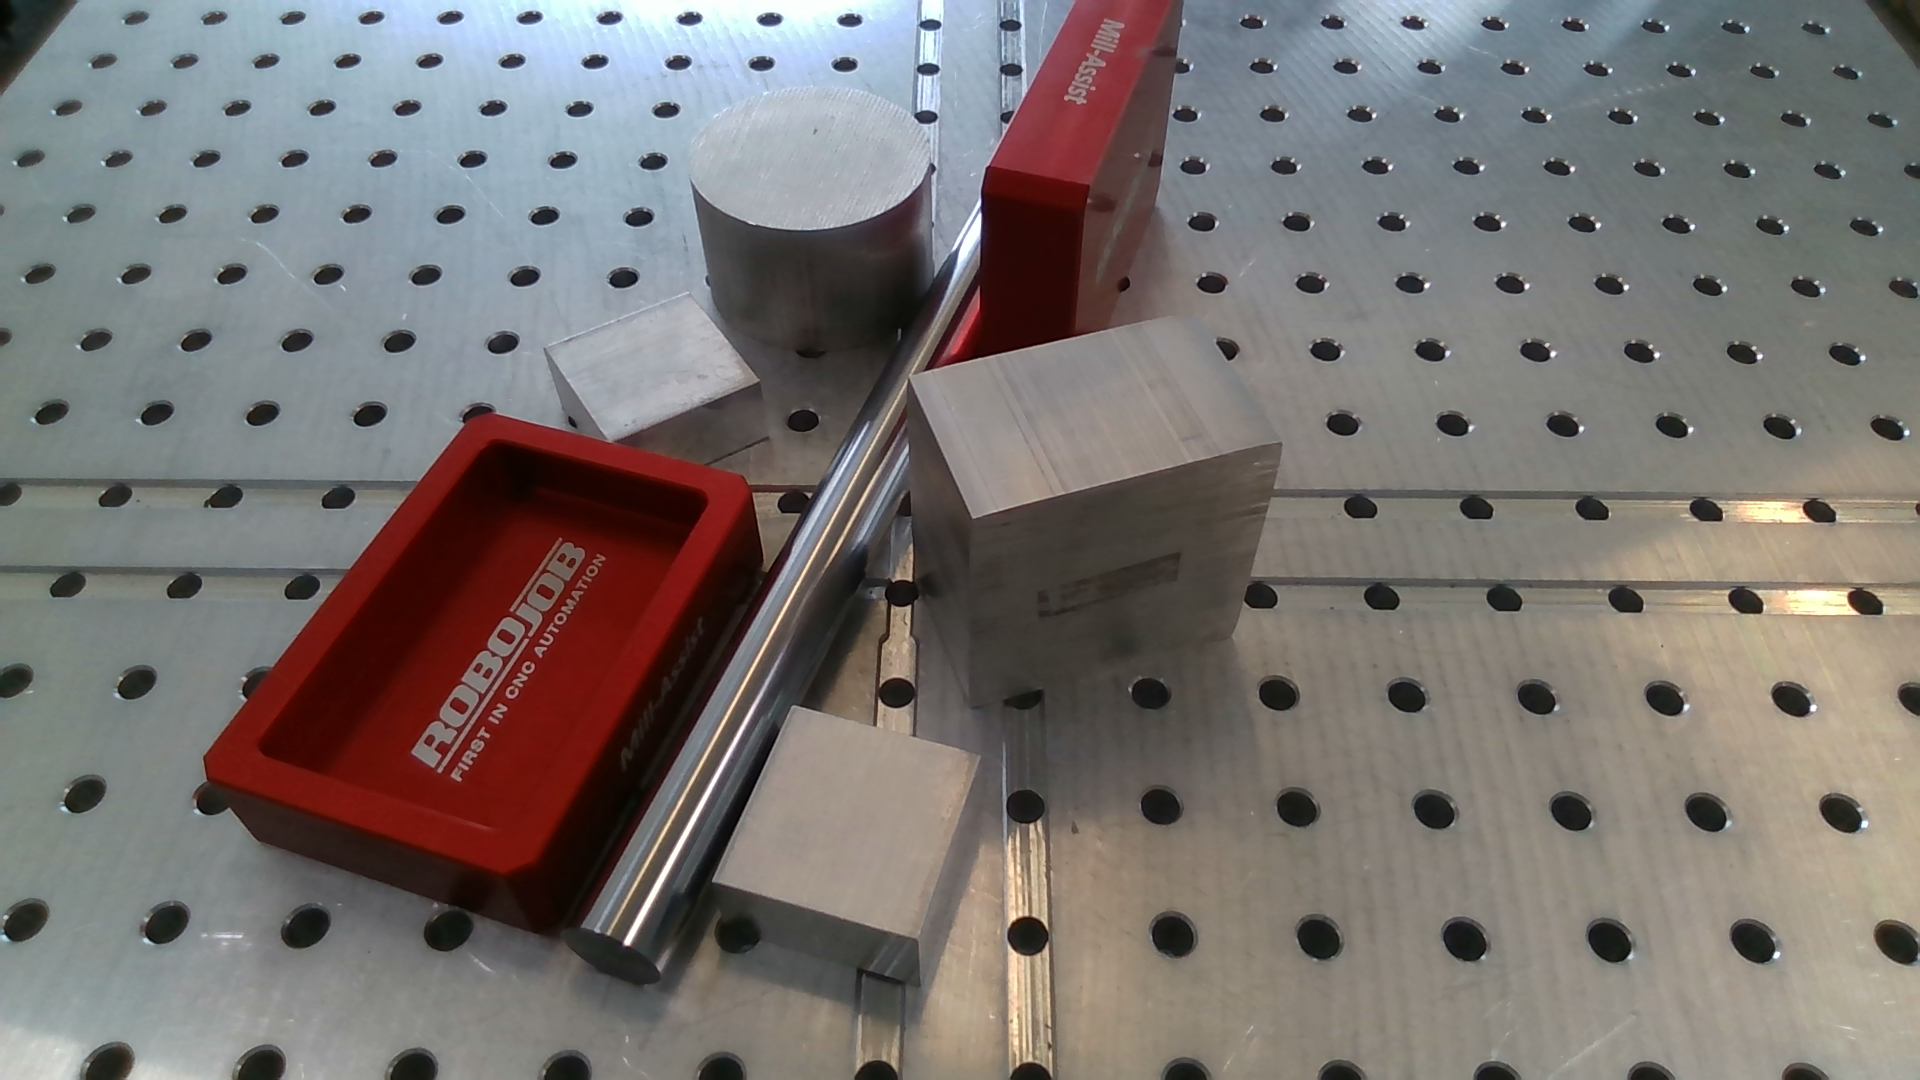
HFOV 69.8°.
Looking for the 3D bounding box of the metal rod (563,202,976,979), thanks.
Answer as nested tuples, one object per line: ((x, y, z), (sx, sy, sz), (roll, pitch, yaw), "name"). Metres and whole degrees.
((-0.030, -0.013, 0.408), (0.025, 0.025, 0.299), (15, 52, 12), "metal rod")

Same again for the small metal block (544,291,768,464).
((-0.096, -0.047, 0.437), (0.050, 0.025, 0.050), (-26, 55, -20), "small metal block")

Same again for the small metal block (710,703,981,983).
((-0.026, 0.073, 0.336), (0.050, 0.025, 0.050), (13, 51, 11), "small metal block")

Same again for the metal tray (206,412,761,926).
((-0.120, 0.028, 0.370), (0.090, 0.030, 0.130), (14, 52, 12), "metal tray")

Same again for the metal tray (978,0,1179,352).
((0.040, -0.117, 0.450), (0.030, 0.090, 0.130), (14, 52, 12), "metal tray")

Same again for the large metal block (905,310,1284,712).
((0.032, -0.007, 0.368), (0.080, 0.080, 0.050), (-14, 52, -12), "large metal block")

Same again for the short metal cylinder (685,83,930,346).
((-0.050, -0.112, 0.473), (0.080, 0.050, 0.080), (0, 50, 0), "short metal cylinder")
